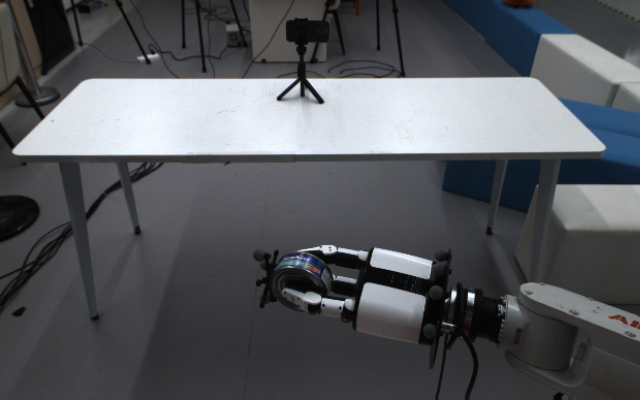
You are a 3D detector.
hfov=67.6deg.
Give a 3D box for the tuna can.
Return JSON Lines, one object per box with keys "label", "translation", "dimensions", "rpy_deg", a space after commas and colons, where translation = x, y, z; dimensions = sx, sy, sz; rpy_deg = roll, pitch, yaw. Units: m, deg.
{"label": "tuna can", "translation": [-0.023, 0.114, 0.681], "dimensions": [0.085, 0.085, 0.034], "rpy_deg": [9, 33, 10]}
